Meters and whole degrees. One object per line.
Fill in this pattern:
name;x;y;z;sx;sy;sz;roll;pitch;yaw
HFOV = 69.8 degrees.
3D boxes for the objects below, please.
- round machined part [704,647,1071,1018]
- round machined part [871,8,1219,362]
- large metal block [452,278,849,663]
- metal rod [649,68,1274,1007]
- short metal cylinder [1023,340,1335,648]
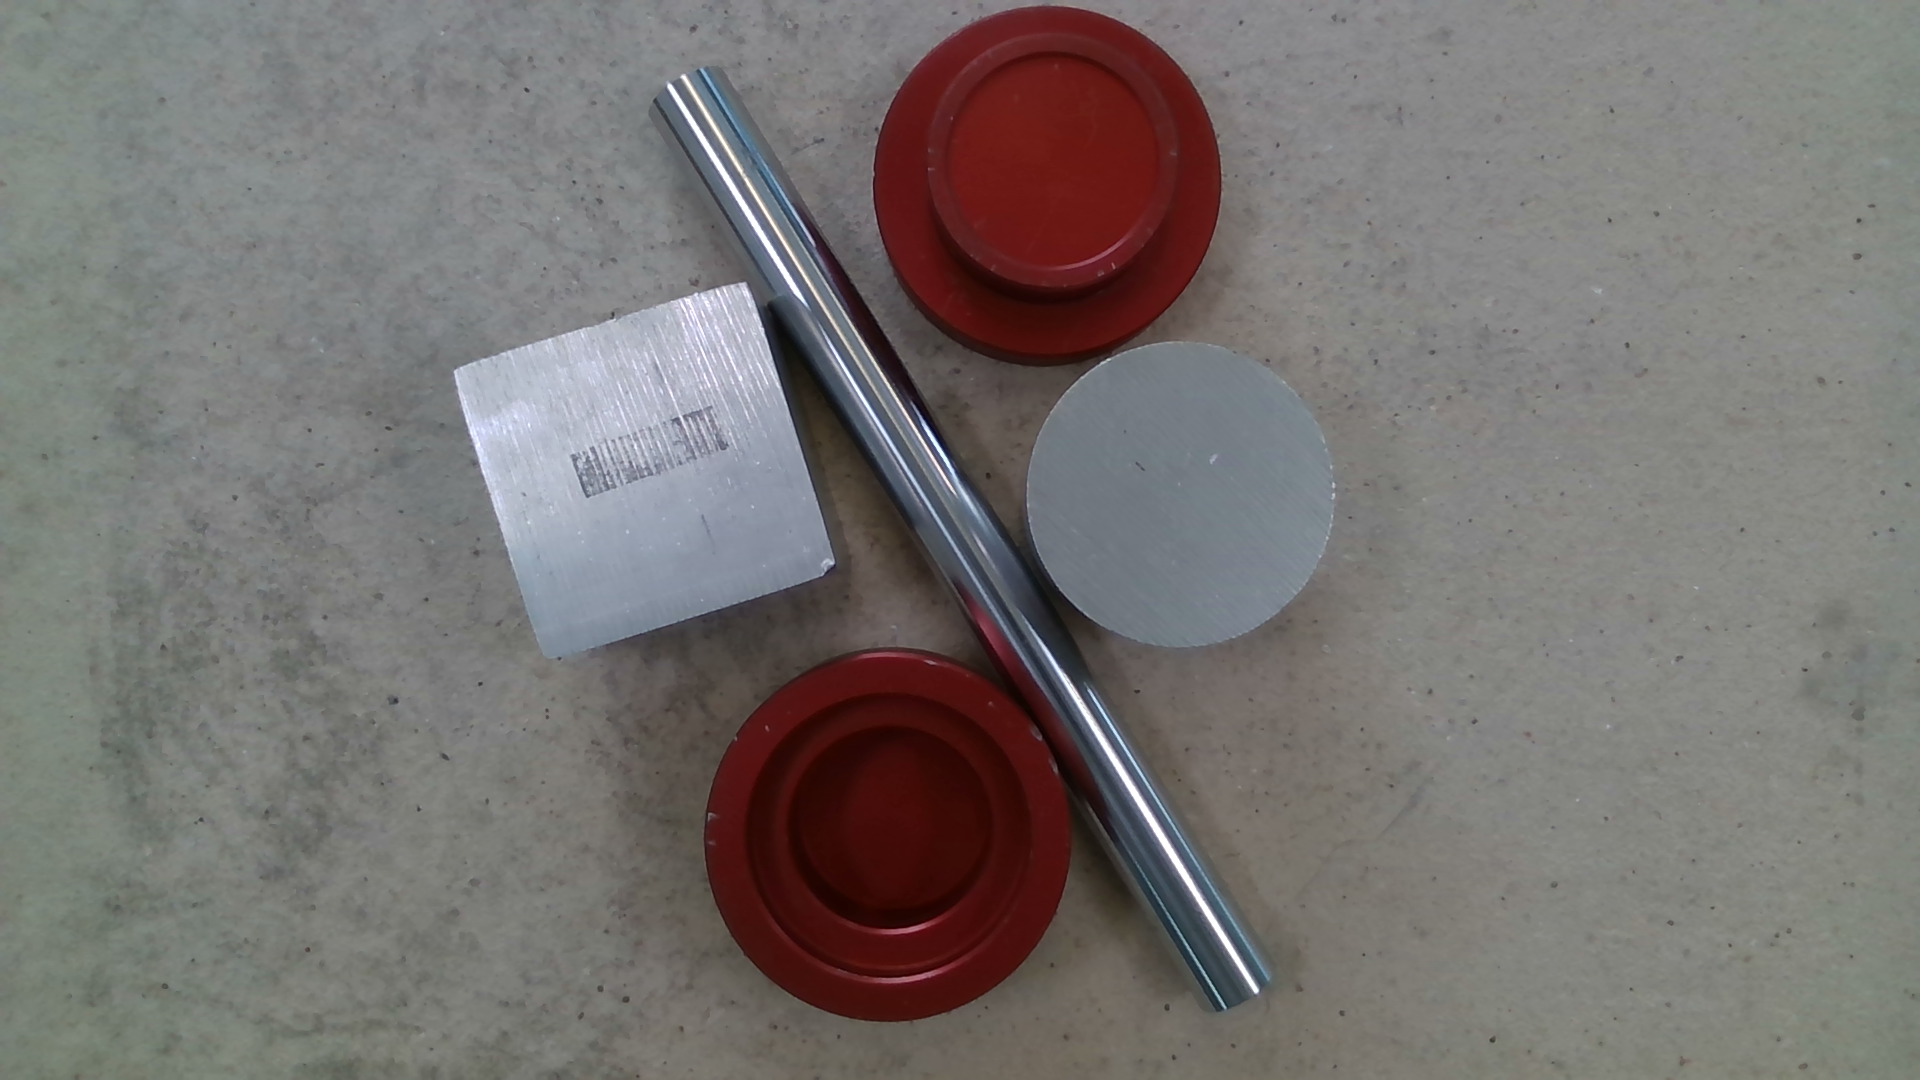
round machined part;-0.019;0.079;0.387;0.098;0.042;0.098;0;90;0
round machined part;0.024;-0.101;0.386;0.098;0.042;0.098;0;90;0
large metal block;-0.082;-0.018;0.384;0.080;0.050;0.080;-17;90;0
metal rod;0.001;0.000;0.396;0.025;0.025;0.300;-32;90;0
short metal cylinder;0.057;-0.012;0.383;0.080;0.050;0.080;0;90;0
